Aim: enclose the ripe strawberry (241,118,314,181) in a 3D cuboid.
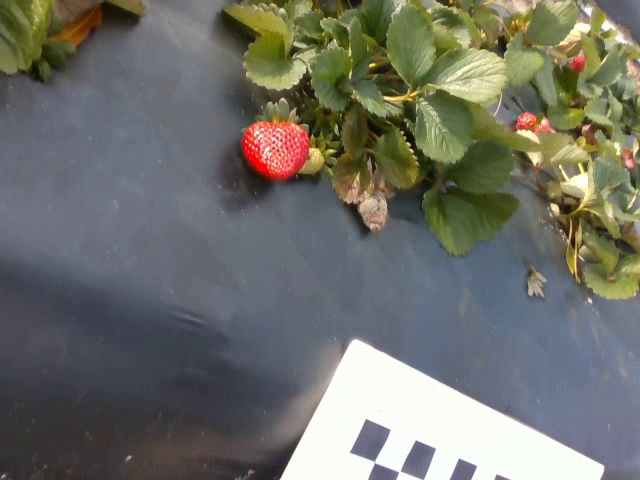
[{"bbox_3d":[-0.026,-0.053,0.328,0.045,0.058,0.050,36,-61,-29],"label":"ripe strawberry"}]
